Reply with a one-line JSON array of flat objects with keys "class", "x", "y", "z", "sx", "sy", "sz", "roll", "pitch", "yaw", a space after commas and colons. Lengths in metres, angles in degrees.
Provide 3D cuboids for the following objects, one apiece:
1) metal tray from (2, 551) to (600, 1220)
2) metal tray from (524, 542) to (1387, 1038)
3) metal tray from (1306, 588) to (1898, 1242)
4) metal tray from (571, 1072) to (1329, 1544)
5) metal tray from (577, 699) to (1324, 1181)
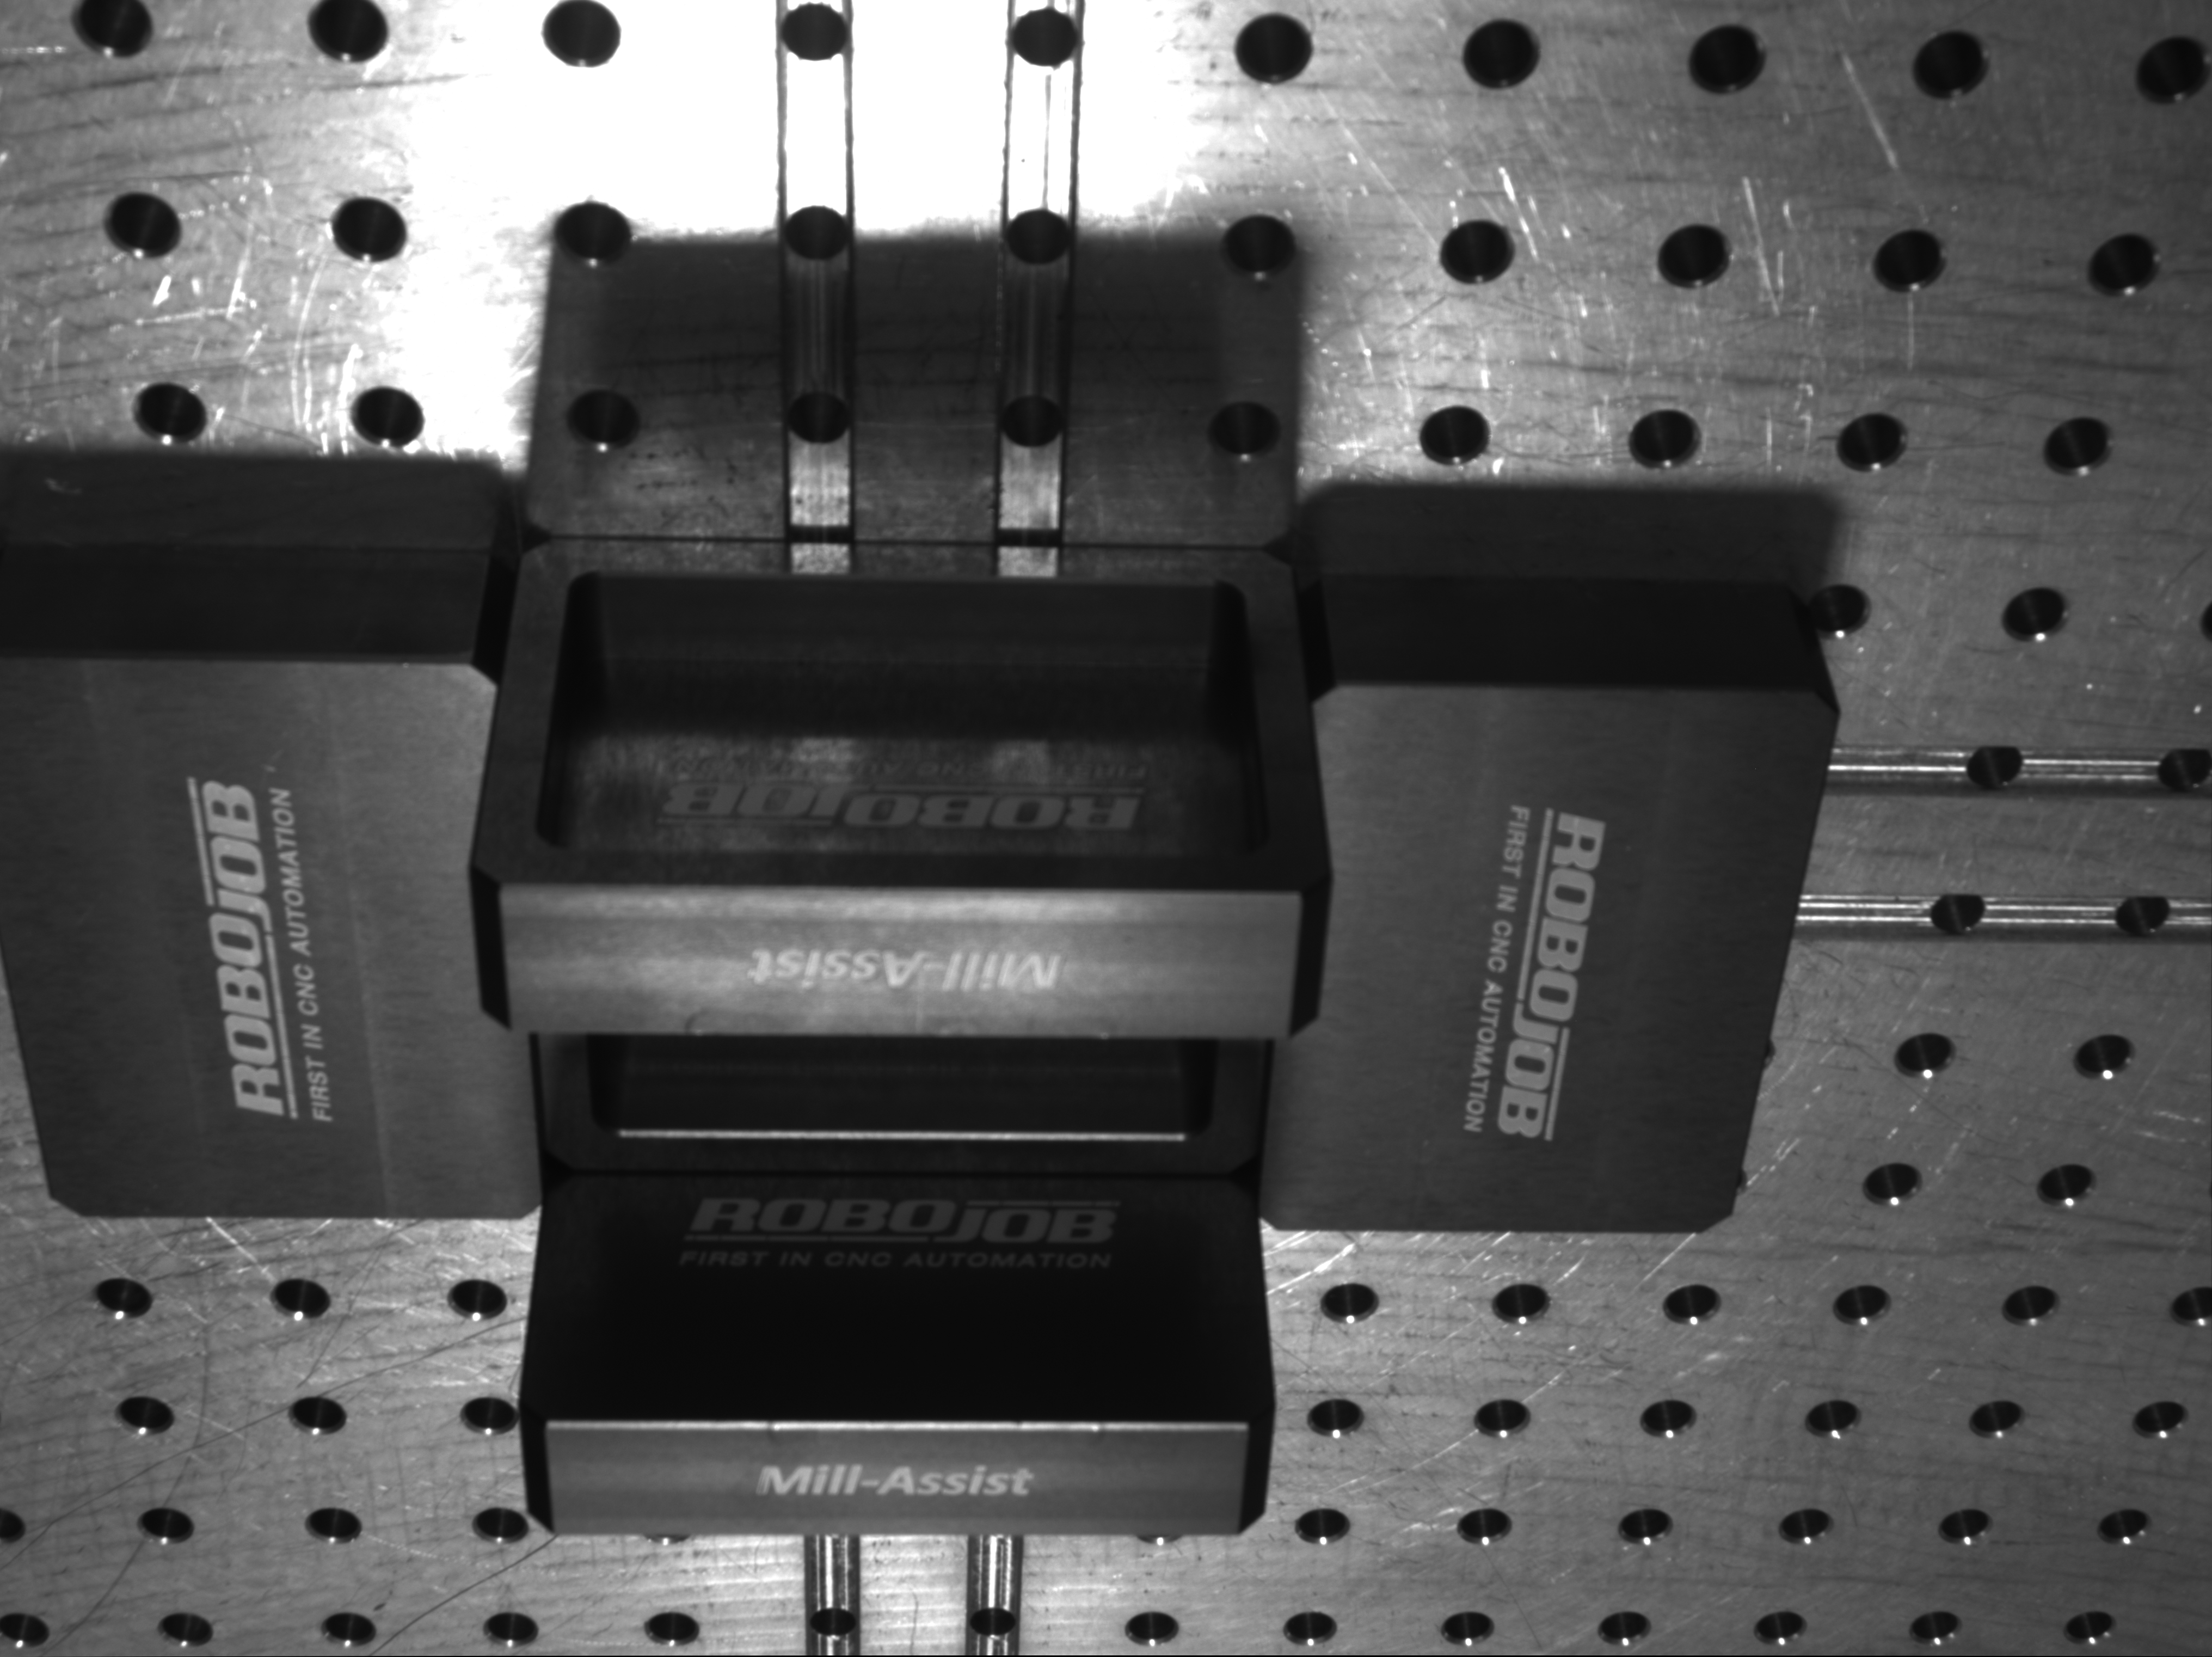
[{"class": "metal tray", "x": -0.137, "y": 0.013, "z": 0.644, "sx": 0.090, "sy": 0.030, "sz": 0.130, "roll": 1, "pitch": 130, "yaw": -2}, {"class": "metal tray", "x": -0.024, "y": -0.008, "z": 0.592, "sx": 0.130, "sy": 0.090, "sz": 0.030, "roll": 1, "pitch": 130, "yaw": -2}, {"class": "metal tray", "x": 0.084, "y": 0.018, "z": 0.654, "sx": 0.090, "sy": 0.030, "sz": 0.130, "roll": 0, "pitch": 130, "yaw": -3}, {"class": "metal tray", "x": -0.028, "y": 0.086, "z": 0.668, "sx": 0.130, "sy": 0.090, "sz": 0.030, "roll": 1, "pitch": 130, "yaw": -2}, {"class": "metal tray", "x": -0.026, "y": 0.021, "z": 0.652, "sx": 0.130, "sy": 0.030, "sz": 0.090, "roll": 1, "pitch": 130, "yaw": -2}]
